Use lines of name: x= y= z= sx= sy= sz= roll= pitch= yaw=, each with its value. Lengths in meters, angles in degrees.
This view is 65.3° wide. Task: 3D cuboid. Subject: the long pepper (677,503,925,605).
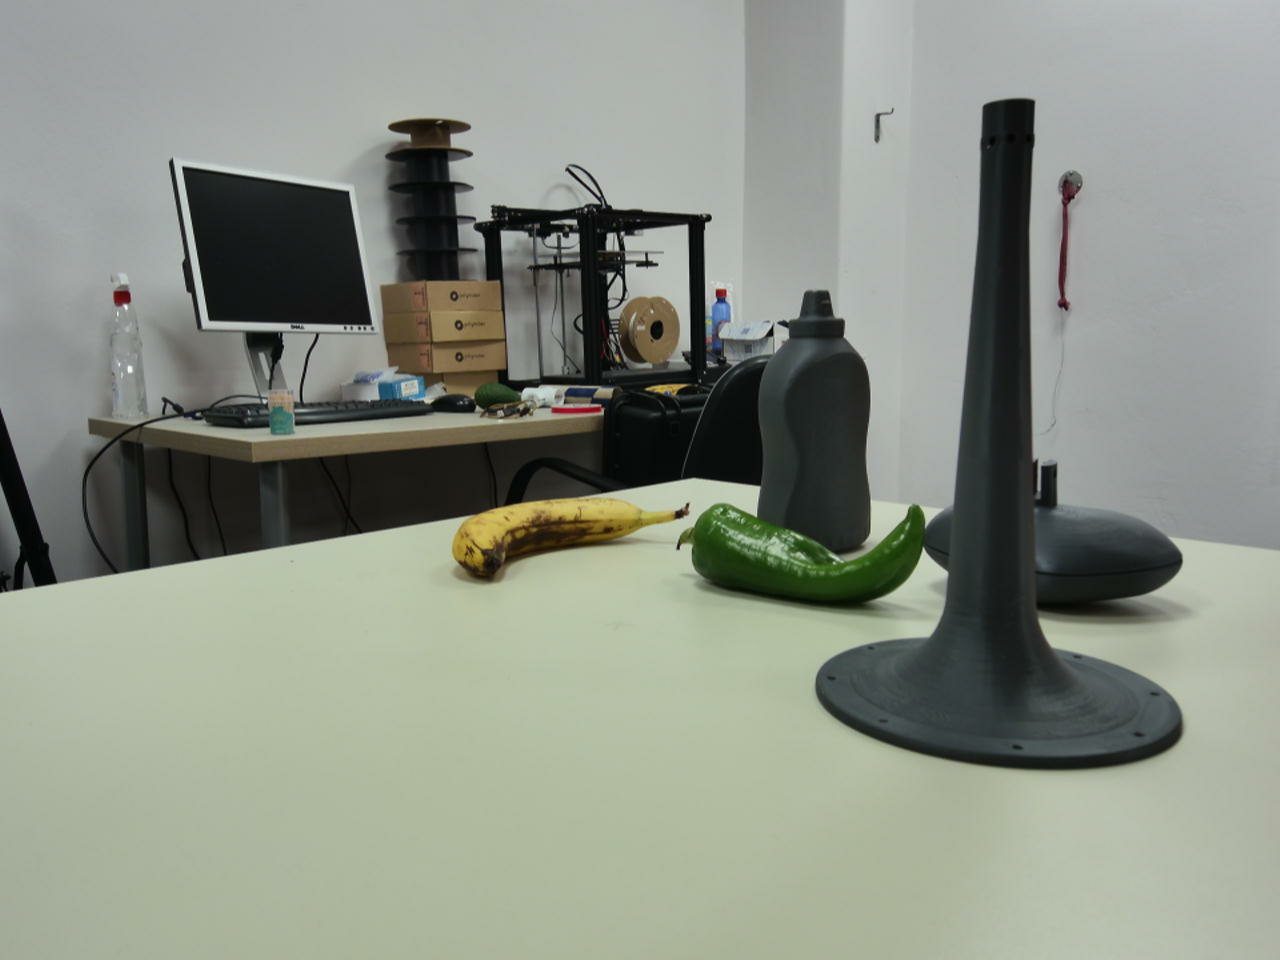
long pepper: x=0.092 y=0.039 z=0.625 sx=0.058 sy=0.065 sz=0.175 roll=-5 pitch=9 yaw=-45
